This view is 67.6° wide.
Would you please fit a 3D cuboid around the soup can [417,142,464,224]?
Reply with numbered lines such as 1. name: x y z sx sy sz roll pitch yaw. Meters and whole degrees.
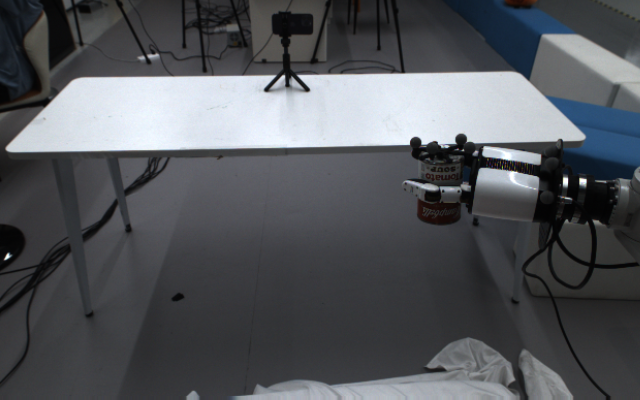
1. soup can: 0.185 -0.022 0.740 0.067 0.101 0.067 -3 25 2
